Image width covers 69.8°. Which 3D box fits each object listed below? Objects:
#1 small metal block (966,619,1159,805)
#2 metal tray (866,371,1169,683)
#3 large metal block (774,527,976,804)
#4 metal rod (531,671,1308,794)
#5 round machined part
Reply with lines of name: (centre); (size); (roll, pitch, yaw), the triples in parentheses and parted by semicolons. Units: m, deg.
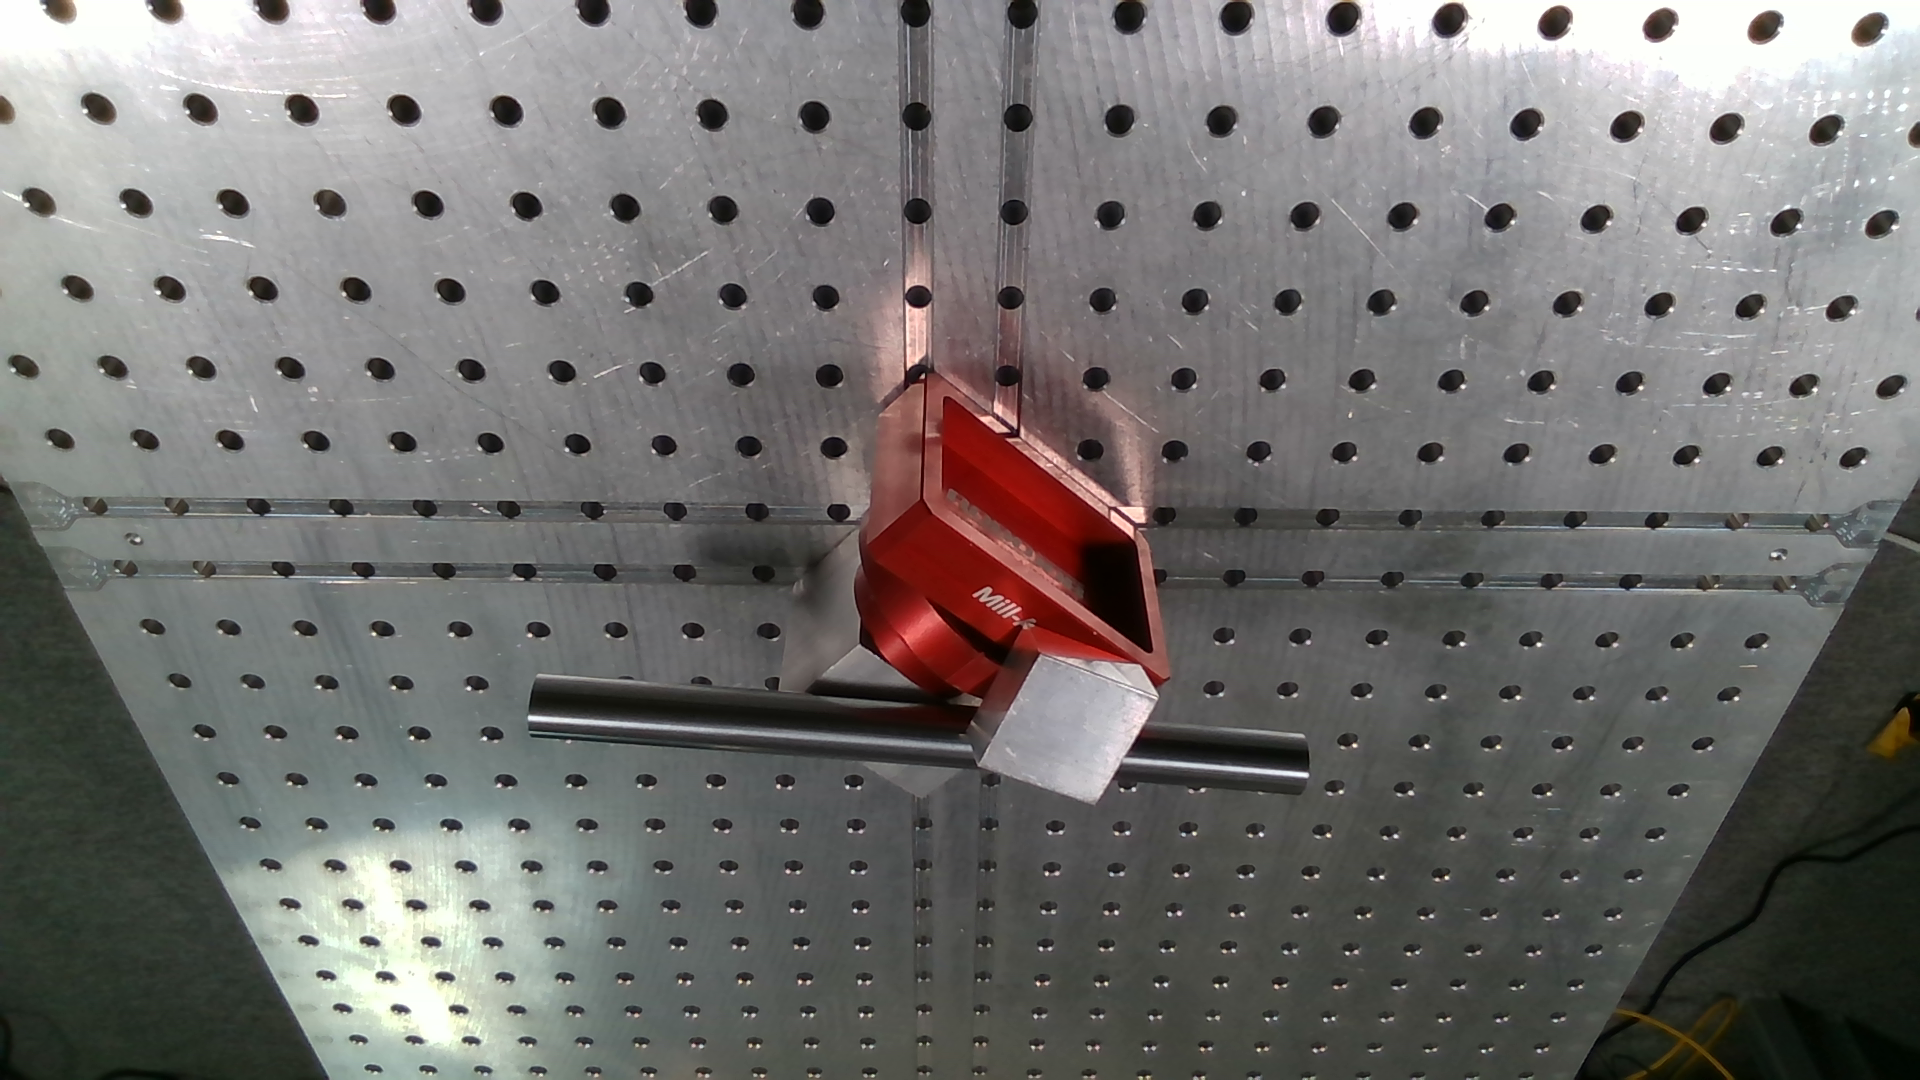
small metal block: (0.037, 0.064, 0.509); (0.050, 0.025, 0.050); (21, 108, -19)
metal tray: (0.024, 0.002, 0.541); (0.130, 0.090, 0.030); (35, 122, -26)
large metal block: (-0.030, 0.052, 0.586); (0.080, 0.080, 0.050); (35, 122, -26)
metal rod: (-0.013, 0.076, 0.542); (0.300, 0.025, 0.025); (5, 130, -4)
round machined part: (-0.002, 0.019, 0.556); (0.098, 0.098, 0.042); (35, 122, -26)
